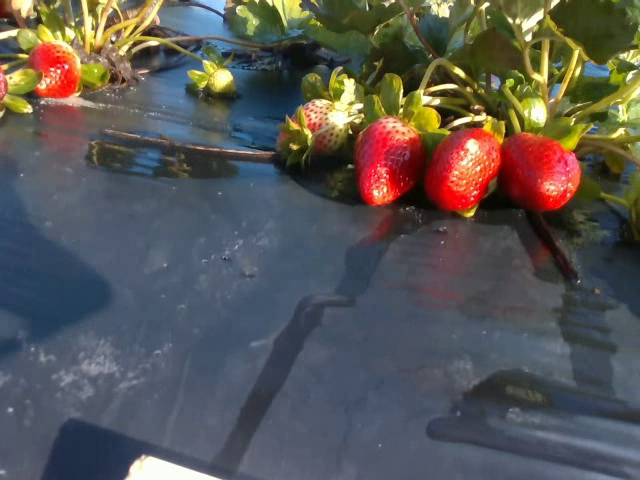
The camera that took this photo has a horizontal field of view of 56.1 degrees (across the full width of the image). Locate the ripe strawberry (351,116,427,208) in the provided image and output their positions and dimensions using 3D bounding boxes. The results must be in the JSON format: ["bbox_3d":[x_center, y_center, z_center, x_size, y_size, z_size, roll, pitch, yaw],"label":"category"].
[{"bbox_3d":[0.025,-0.031,0.229,0.031,0.046,0.023,12,-39,12],"label":"ripe strawberry"}]

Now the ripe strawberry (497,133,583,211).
[{"bbox_3d":[0.079,-0.022,0.215,0.035,0.034,0.041,8,14,11],"label":"ripe strawberry"}]

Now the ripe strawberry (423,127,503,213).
[{"bbox_3d":[0.052,-0.029,0.217,0.030,0.037,0.039,21,4,17],"label":"ripe strawberry"}]
